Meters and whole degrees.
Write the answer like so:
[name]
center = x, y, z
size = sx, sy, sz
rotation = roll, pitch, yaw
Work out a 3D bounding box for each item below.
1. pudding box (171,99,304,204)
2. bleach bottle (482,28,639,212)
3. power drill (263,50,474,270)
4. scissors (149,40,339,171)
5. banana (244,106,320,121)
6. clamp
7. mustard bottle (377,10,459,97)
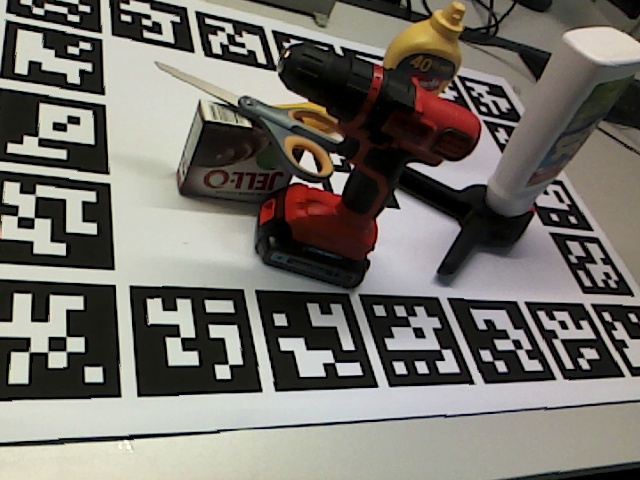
[pudding box]
center = -0.084, -0.087, 0.624
size = 0.113, 0.090, 0.039
rotation = 8, 41, -25
[bleach bottle]
center = 0.262, -0.117, 0.718
size = 0.102, 0.251, 0.068
rotation = -17, 58, -32
[power drill]
center = 0.018, -0.065, 0.549
size = 0.184, 0.187, 0.057
rotation = 13, 39, -16
[scissors]
center = -0.068, -0.133, 0.581
size = 0.202, 0.016, 0.088
rotation = 27, 46, -13
[banana]
center = -0.011, -0.183, 0.787
size = 0.074, 0.039, 0.197
rotation = 28, 40, 20
[clamp]
center = 0.193, -0.042, 0.764
size = 0.201, 0.037, 0.166
rotation = 0, 53, -33
[mustard bottle]
center = 0.114, -0.205, 0.783
size = 0.096, 0.192, 0.058
rotation = 17, 44, -18
